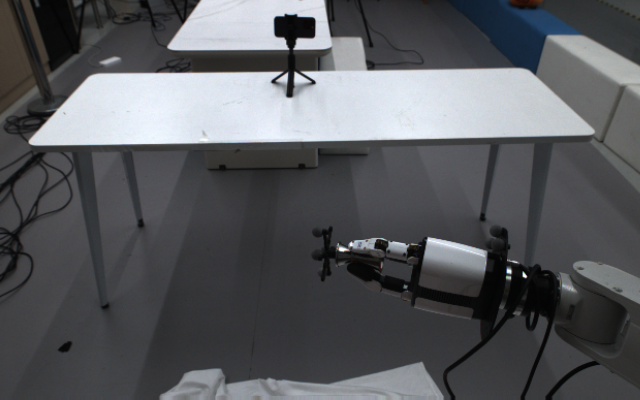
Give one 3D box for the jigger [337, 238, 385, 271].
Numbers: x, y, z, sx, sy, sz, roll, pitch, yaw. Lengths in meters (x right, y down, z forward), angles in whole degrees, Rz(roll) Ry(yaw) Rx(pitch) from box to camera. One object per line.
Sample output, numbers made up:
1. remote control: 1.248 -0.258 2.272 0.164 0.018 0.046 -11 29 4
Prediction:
1. jigger: 0.067 0.080 0.728 0.071 0.043 0.043 3 34 13
